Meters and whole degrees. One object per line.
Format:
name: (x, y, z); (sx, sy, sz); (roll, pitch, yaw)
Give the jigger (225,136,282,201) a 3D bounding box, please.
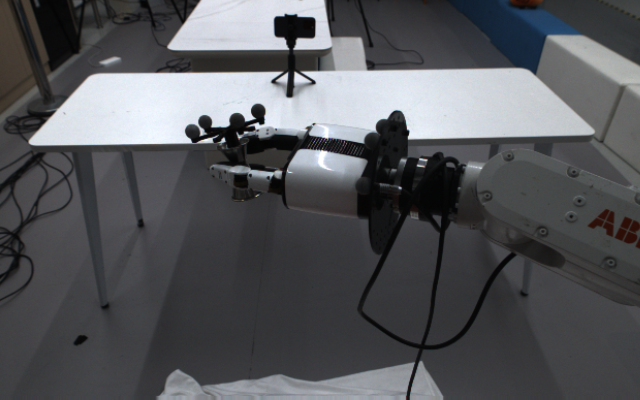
jigger: (-0.096, -0.037, 0.595); (0.043, 0.071, 0.043); (-12, 24, 5)
